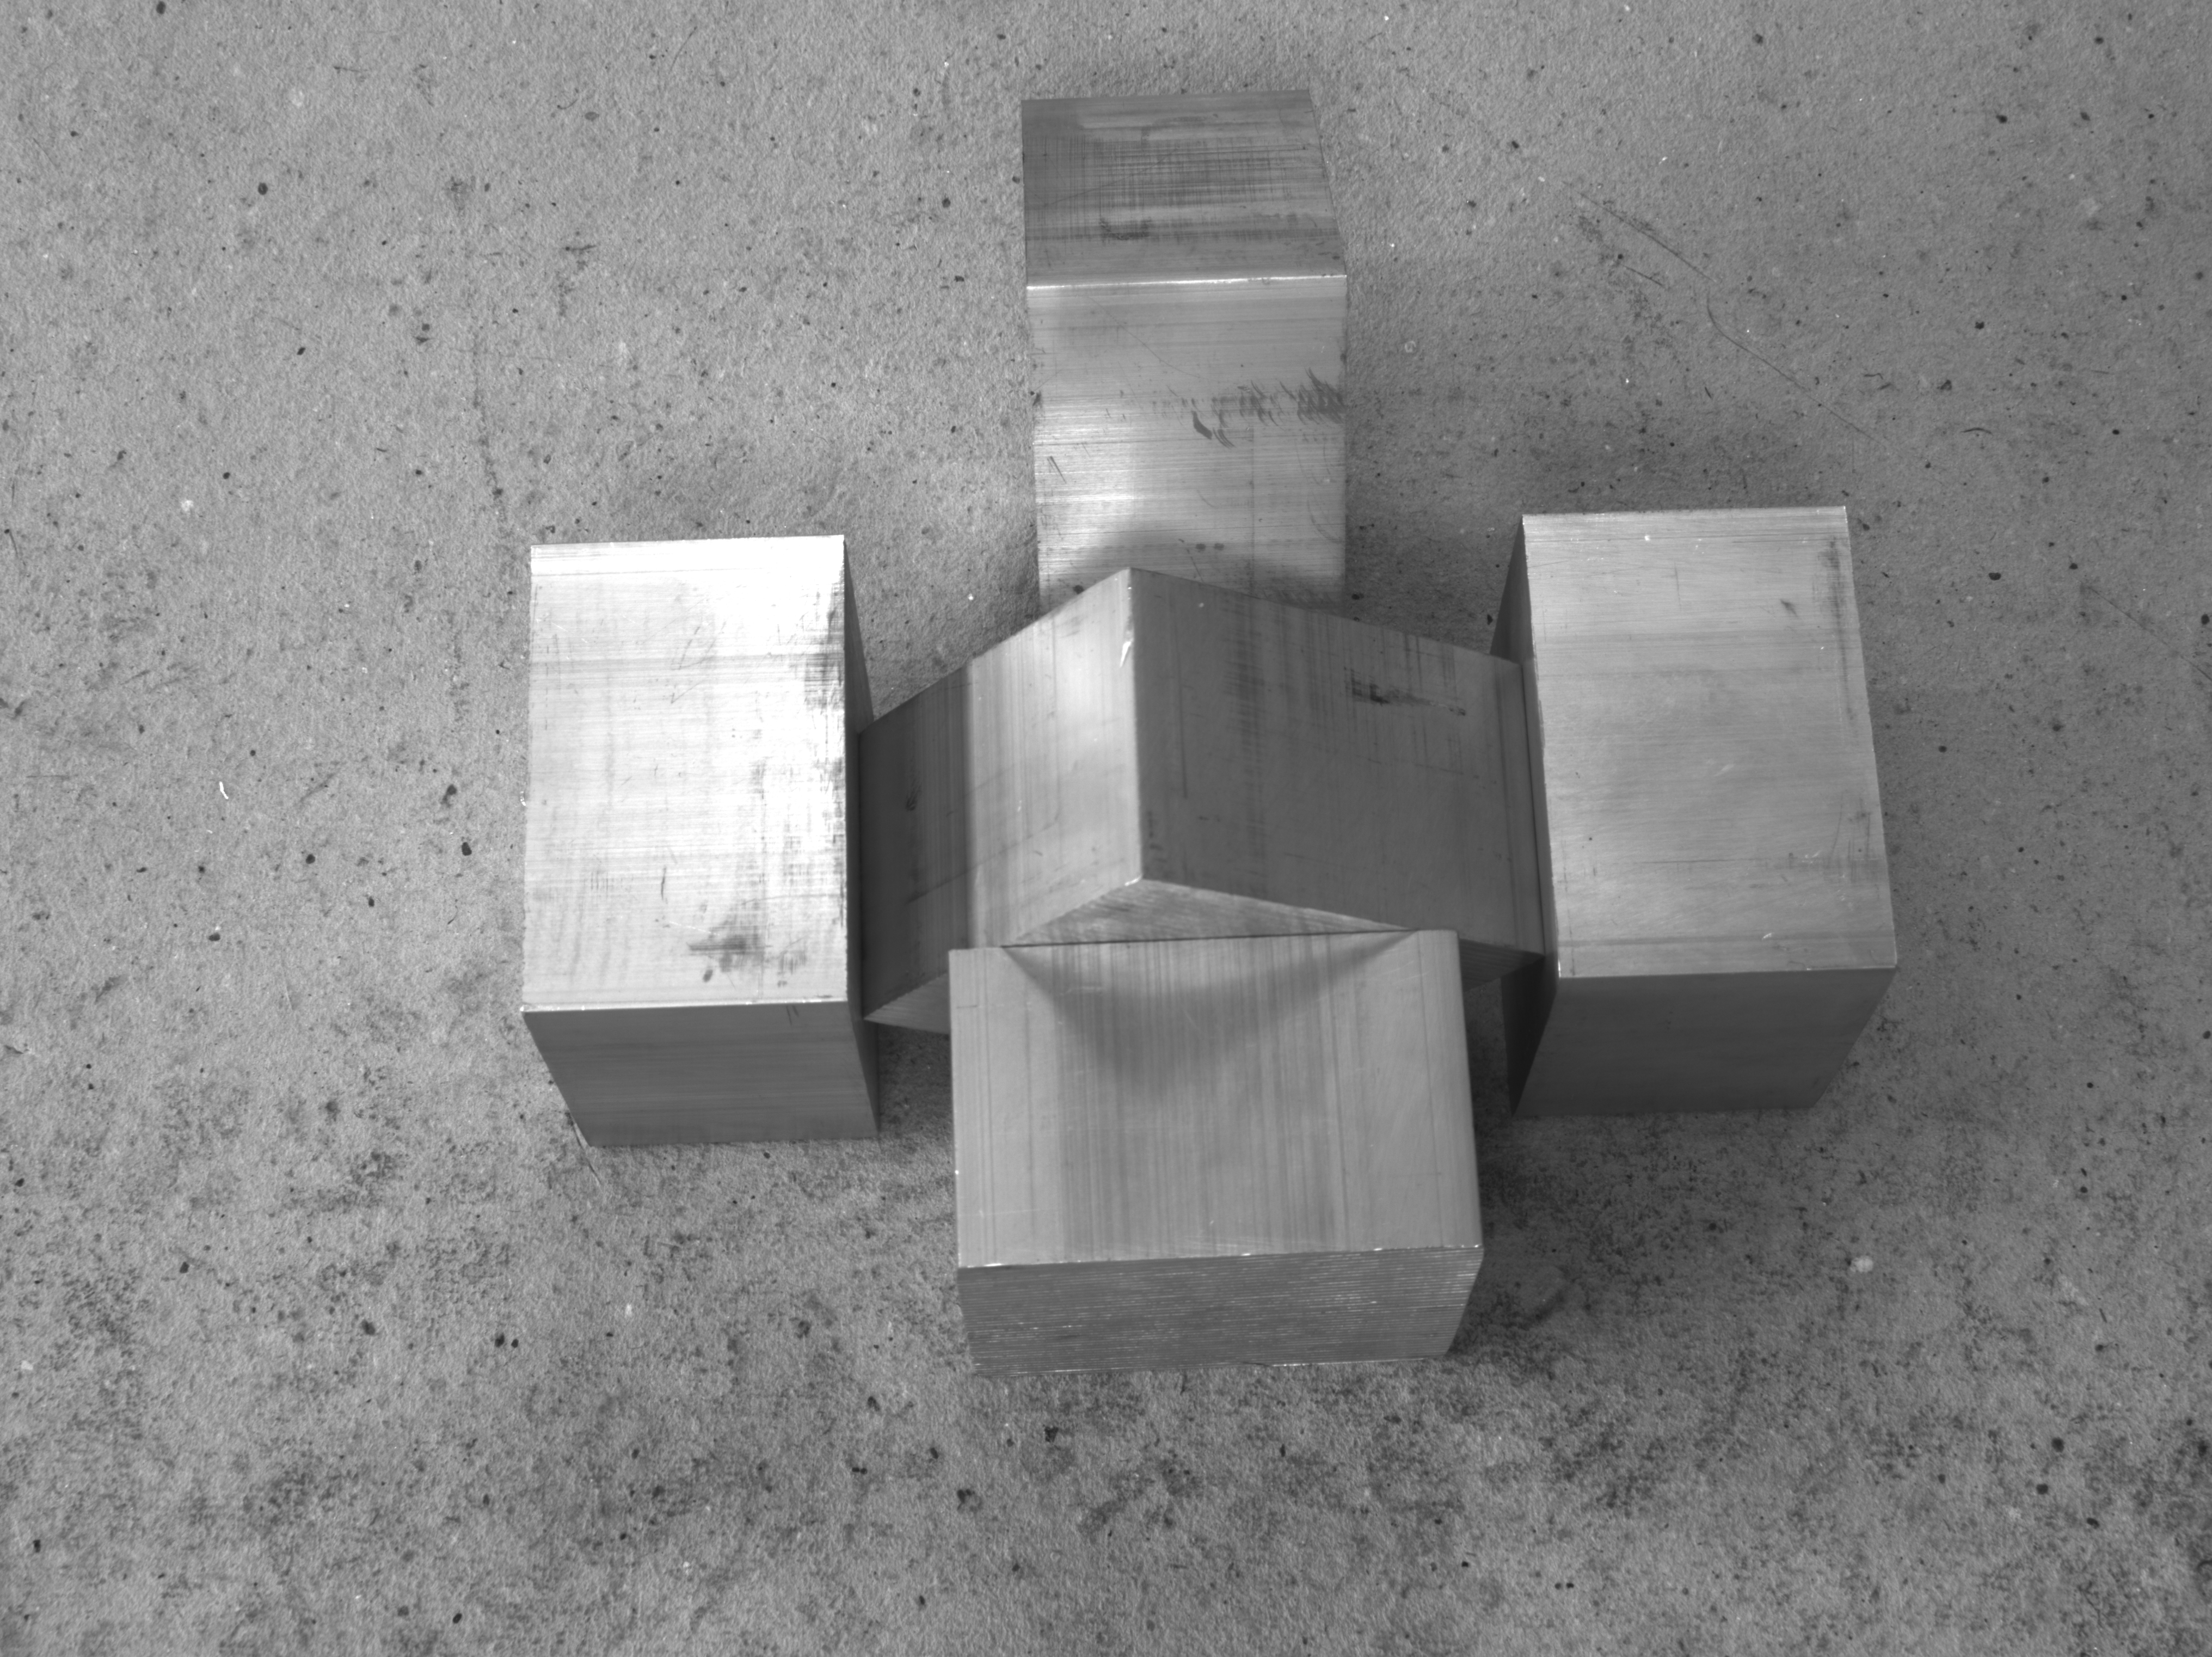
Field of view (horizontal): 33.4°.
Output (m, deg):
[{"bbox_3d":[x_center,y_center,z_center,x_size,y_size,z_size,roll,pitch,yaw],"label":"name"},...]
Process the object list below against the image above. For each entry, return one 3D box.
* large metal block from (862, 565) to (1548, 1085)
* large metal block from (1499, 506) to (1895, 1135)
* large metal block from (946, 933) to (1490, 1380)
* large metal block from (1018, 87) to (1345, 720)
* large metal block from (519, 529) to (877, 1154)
[{"bbox_3d":[0.014,0.003,0.600,0.080,0.080,0.050,12,65,-33],"label":"large metal block"},{"bbox_3d":[0.094,0.000,0.616,0.050,0.080,0.080,-2,69,-1],"label":"large metal block"},{"bbox_3d":[0.017,0.055,0.597,0.080,0.080,0.050,-2,70,-1],"label":"large metal block"},{"bbox_3d":[0.012,-0.073,0.627,0.050,0.080,0.080,-2,32,-1],"label":"large metal block"},{"bbox_3d":[-0.066,0.004,0.614,0.050,0.080,0.080,-2,69,-1],"label":"large metal block"}]
